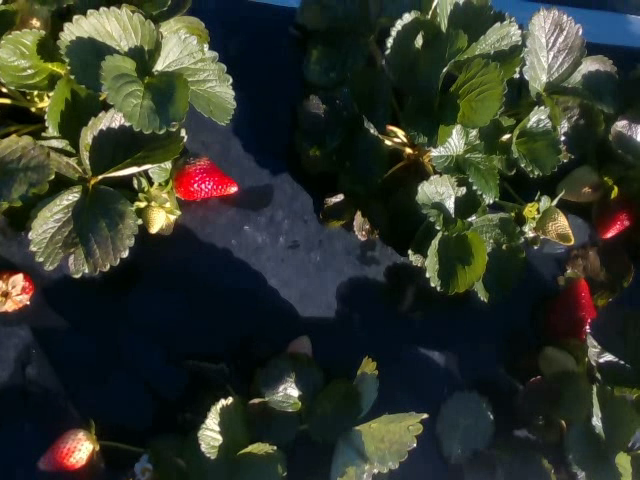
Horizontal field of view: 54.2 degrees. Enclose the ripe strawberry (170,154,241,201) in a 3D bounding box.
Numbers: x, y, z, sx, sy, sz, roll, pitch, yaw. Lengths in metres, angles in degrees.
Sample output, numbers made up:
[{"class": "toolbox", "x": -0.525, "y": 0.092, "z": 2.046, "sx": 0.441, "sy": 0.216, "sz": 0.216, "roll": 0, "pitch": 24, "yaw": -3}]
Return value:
[{"class": "ripe strawberry", "x": -0.100, "y": -0.052, "z": 0.536, "sx": 0.064, "sy": 0.049, "sz": 0.052, "roll": 12, "pitch": 23, "yaw": -4}]
